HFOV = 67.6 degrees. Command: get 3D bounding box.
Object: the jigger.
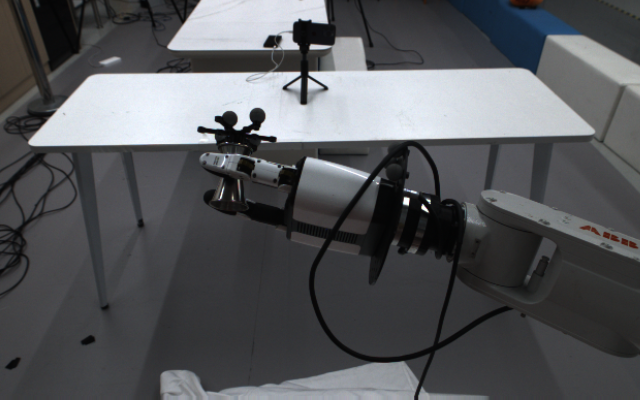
[{"bbox_3d":[-0.098,-0.025,0.542,0.043,0.043,0.071,3,75,2],"label":"jigger"}]
